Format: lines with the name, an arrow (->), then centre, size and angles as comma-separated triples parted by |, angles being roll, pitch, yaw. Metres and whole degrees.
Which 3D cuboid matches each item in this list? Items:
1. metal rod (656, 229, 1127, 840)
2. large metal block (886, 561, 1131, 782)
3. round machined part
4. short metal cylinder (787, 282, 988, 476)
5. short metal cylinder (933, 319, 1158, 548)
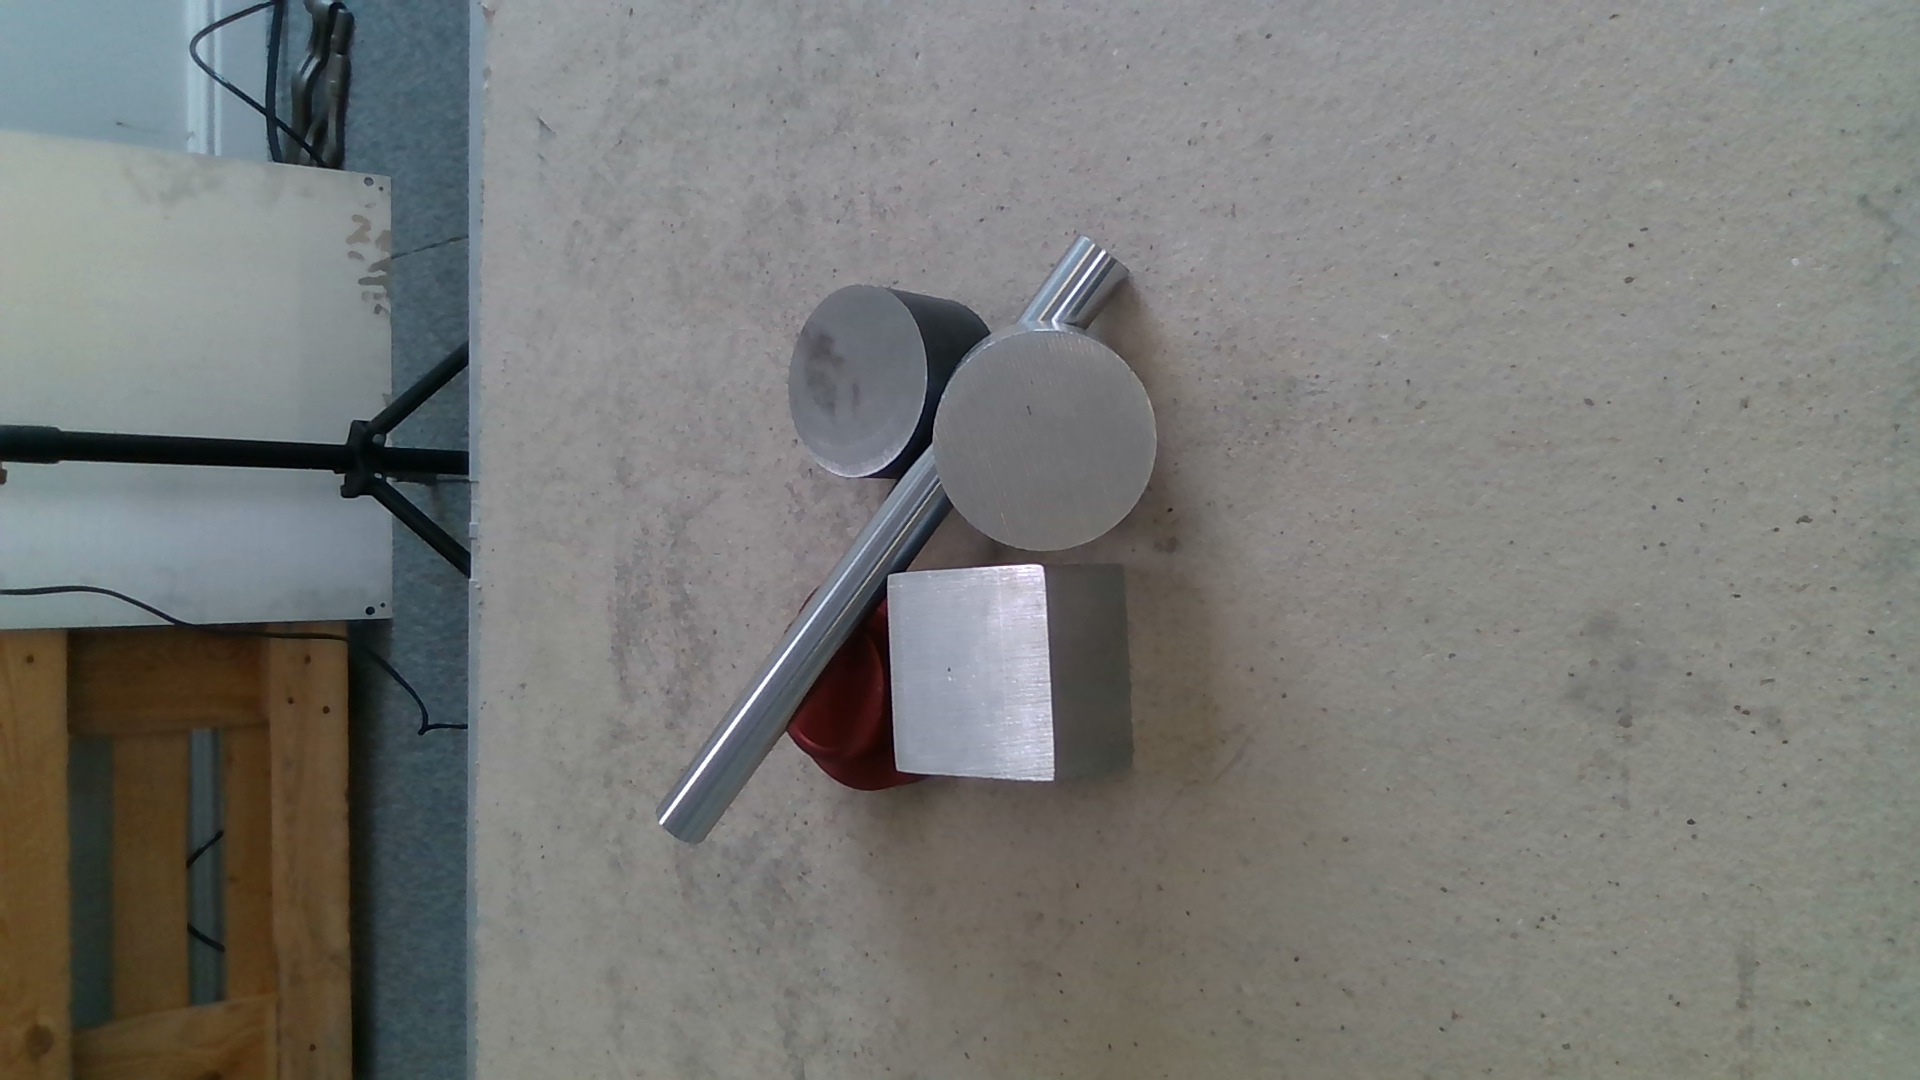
metal rod -> -0.033, 0.004, 0.566 | 0.025, 0.025, 0.300 | 44, 104, 31
large metal block -> 0.019, 0.051, 0.548 | 0.080, 0.050, 0.080 | -4, 88, 40
round machined part -> -0.046, 0.061, 0.610 | 0.098, 0.042, 0.098 | 0, 91, 40
short metal cylinder -> -0.028, -0.067, 0.591 | 0.080, 0.050, 0.080 | 0, 91, 40
short metal cylinder -> 0.031, -0.042, 0.515 | 0.080, 0.050, 0.080 | 0, 104, 2
